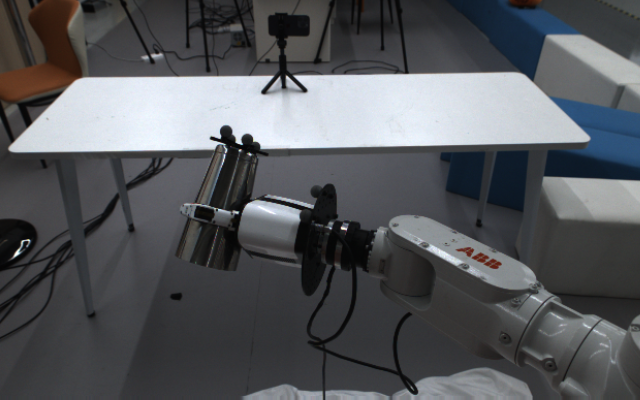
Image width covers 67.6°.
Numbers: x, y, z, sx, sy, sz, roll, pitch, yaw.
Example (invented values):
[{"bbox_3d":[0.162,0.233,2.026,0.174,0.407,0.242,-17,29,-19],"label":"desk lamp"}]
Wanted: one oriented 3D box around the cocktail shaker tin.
[{"bbox_3d":[-0.144,0.011,0.712,0.093,0.170,0.093,16,-4,1],"label":"cocktail shaker tin"}]
